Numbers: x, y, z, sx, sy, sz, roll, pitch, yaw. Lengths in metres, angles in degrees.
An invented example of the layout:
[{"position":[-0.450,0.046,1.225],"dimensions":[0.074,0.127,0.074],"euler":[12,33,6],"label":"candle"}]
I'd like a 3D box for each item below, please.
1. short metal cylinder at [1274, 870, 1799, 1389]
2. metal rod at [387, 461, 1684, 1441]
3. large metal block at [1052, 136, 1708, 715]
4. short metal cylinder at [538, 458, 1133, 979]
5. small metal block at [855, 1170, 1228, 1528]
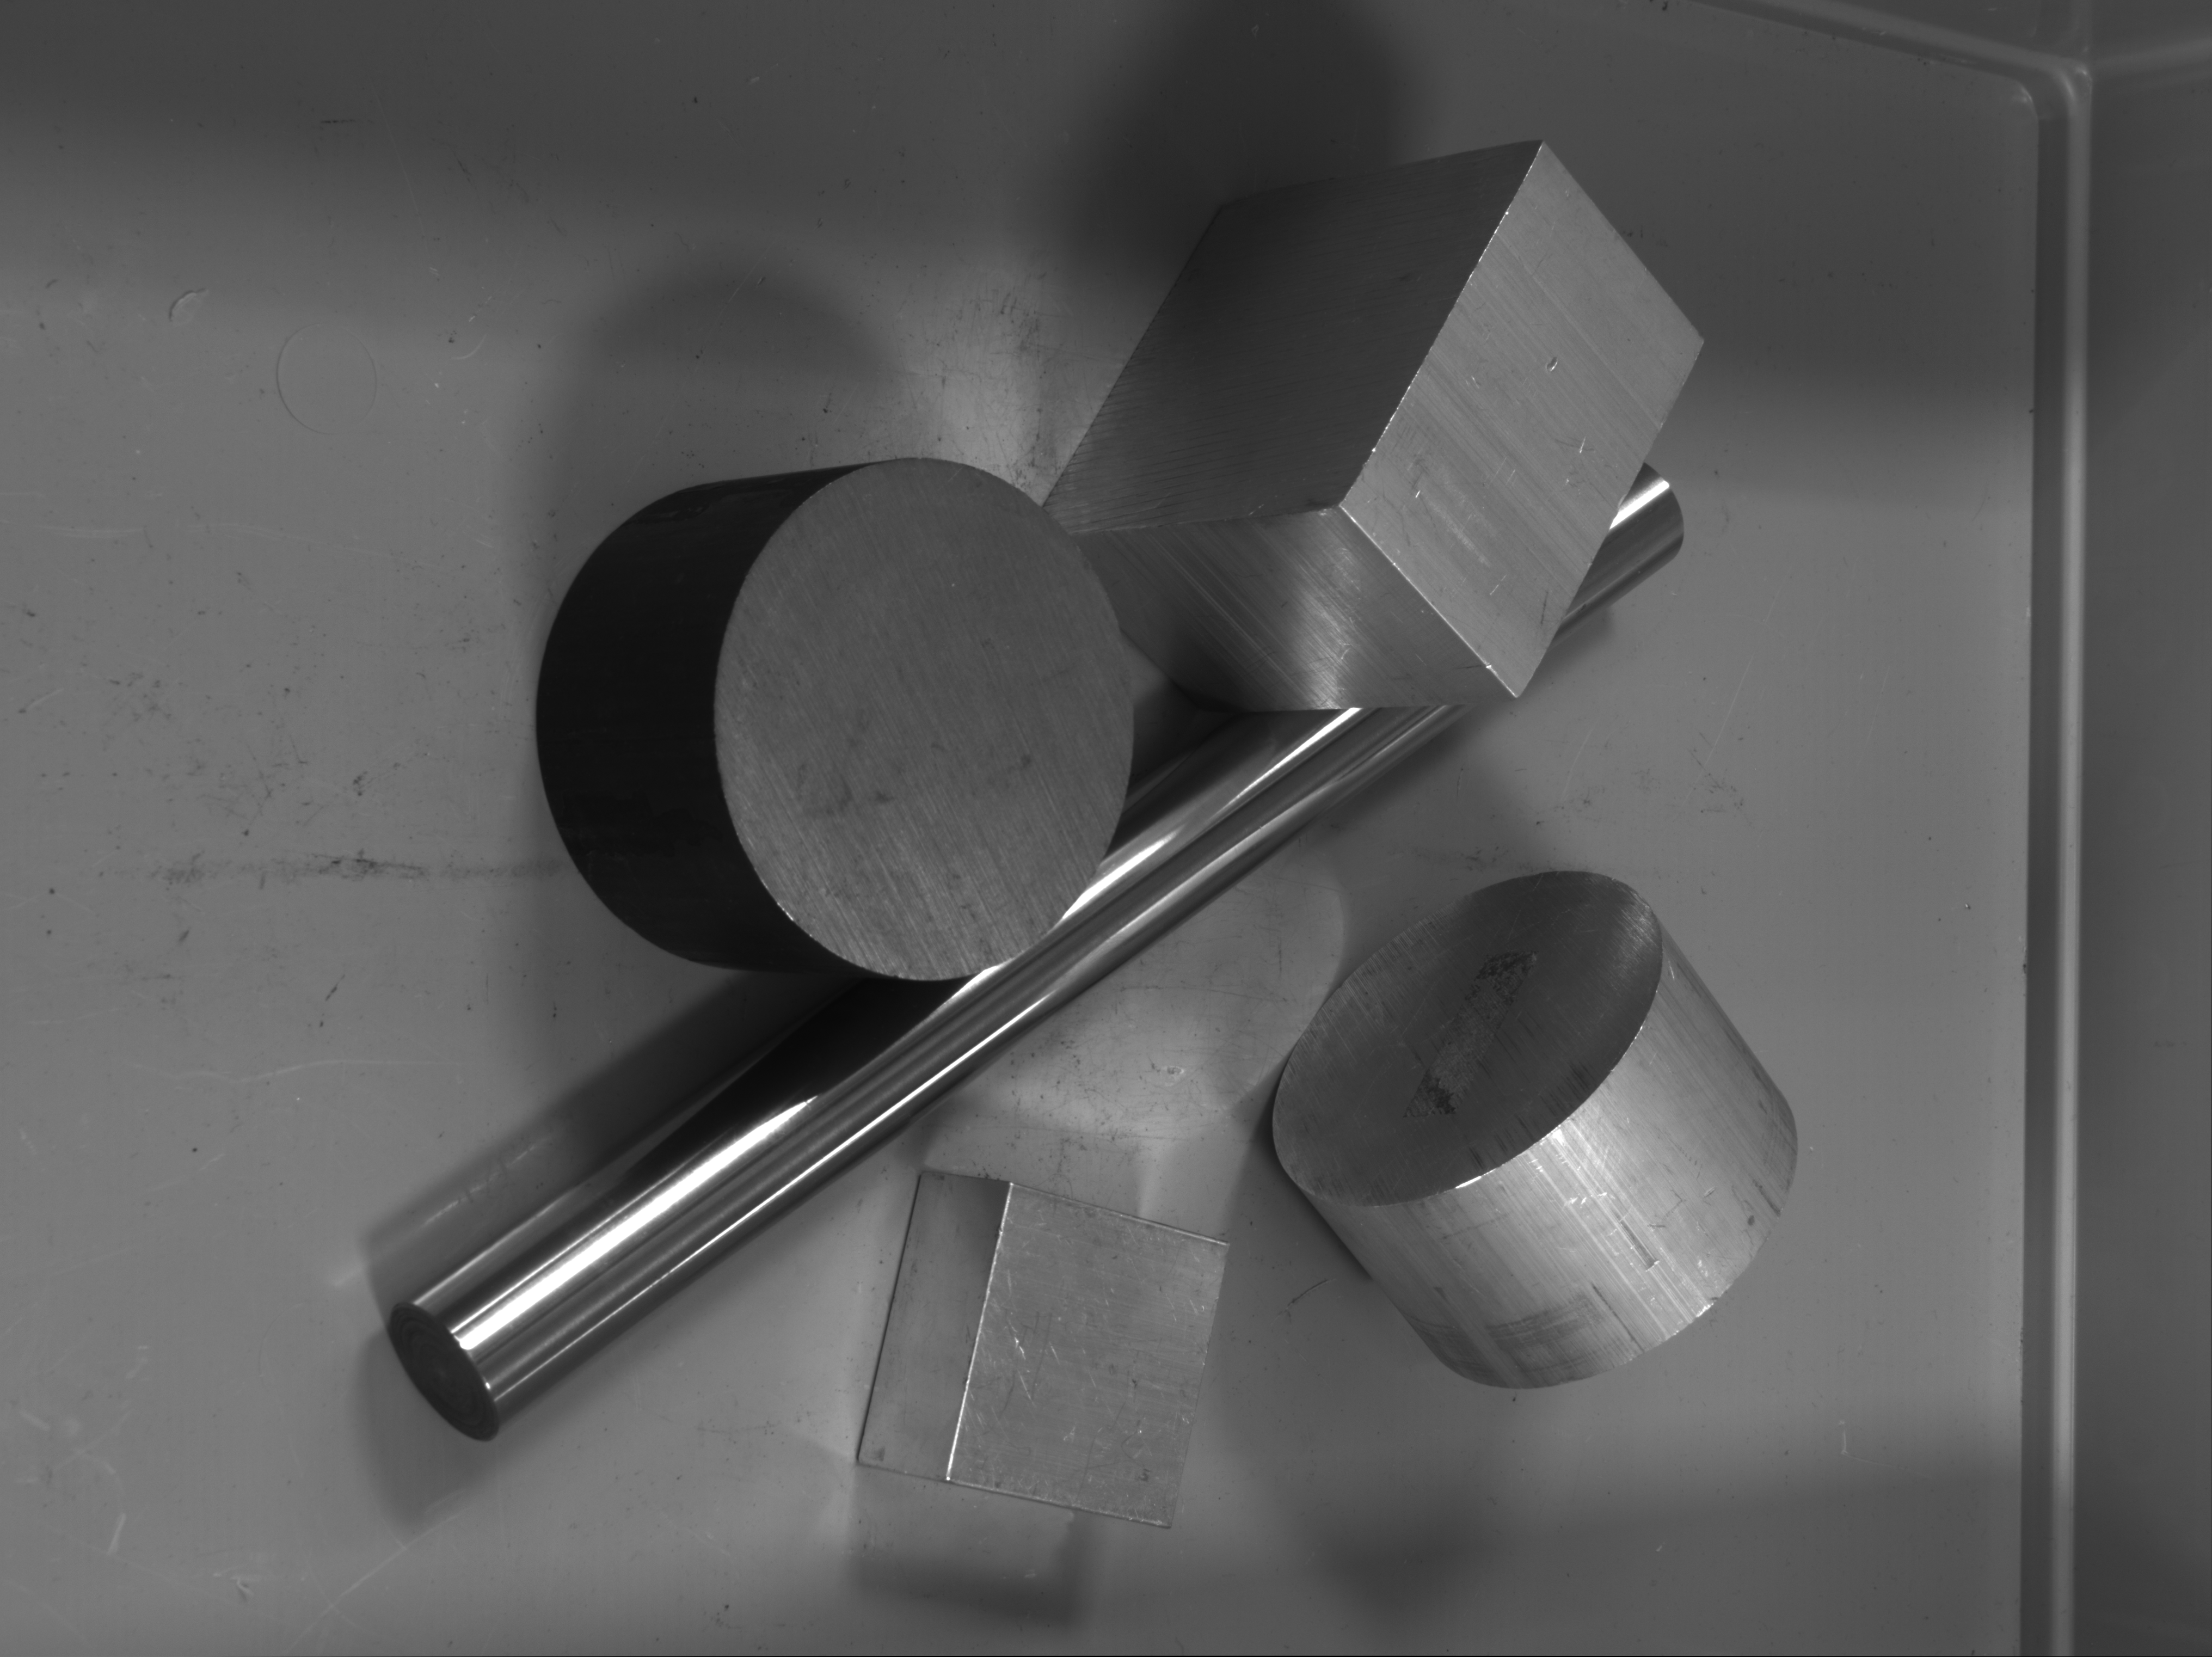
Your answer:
[{"position":[0.078,0.054,0.664],"dimensions":[0.050,0.080,0.080],"euler":[51,60,-28],"label":"short metal cylinder"},{"position":[0.002,0.010,0.636],"dimensions":[0.301,0.025,0.025],"euler":[-35,112,-34],"label":"metal rod"},{"position":[0.045,-0.068,0.637],"dimensions":[0.050,0.080,0.080],"euler":[44,64,-31],"label":"large metal block"},{"position":[-0.042,-0.017,0.583],"dimensions":[0.080,0.050,0.080],"euler":[0,90,-40],"label":"short metal cylinder"},{"position":[-0.010,0.089,0.626],"dimensions":[0.050,0.025,0.050],"euler":[19,78,-38],"label":"small metal block"}]
